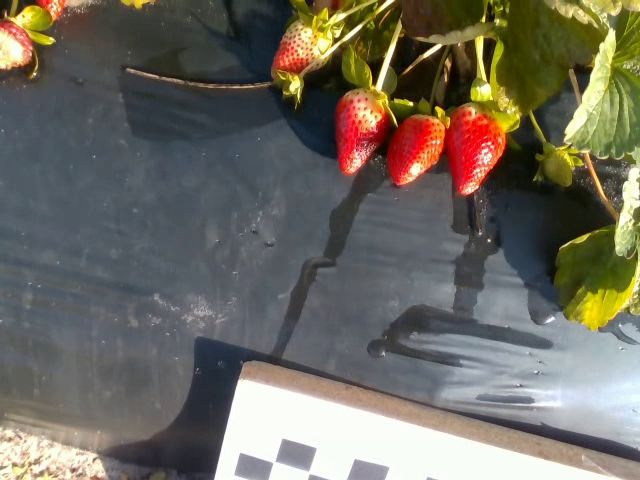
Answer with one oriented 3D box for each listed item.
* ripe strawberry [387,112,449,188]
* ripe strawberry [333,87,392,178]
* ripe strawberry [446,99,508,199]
[{"bbox_3d":[0.046,-0.044,0.298,0.030,0.039,0.036,25,-35,-3],"label":"ripe strawberry"},{"bbox_3d":[0.019,-0.054,0.305,0.032,0.045,0.023,15,14,2],"label":"ripe strawberry"},{"bbox_3d":[0.074,-0.038,0.301,0.035,0.041,0.034,12,-22,4],"label":"ripe strawberry"}]
